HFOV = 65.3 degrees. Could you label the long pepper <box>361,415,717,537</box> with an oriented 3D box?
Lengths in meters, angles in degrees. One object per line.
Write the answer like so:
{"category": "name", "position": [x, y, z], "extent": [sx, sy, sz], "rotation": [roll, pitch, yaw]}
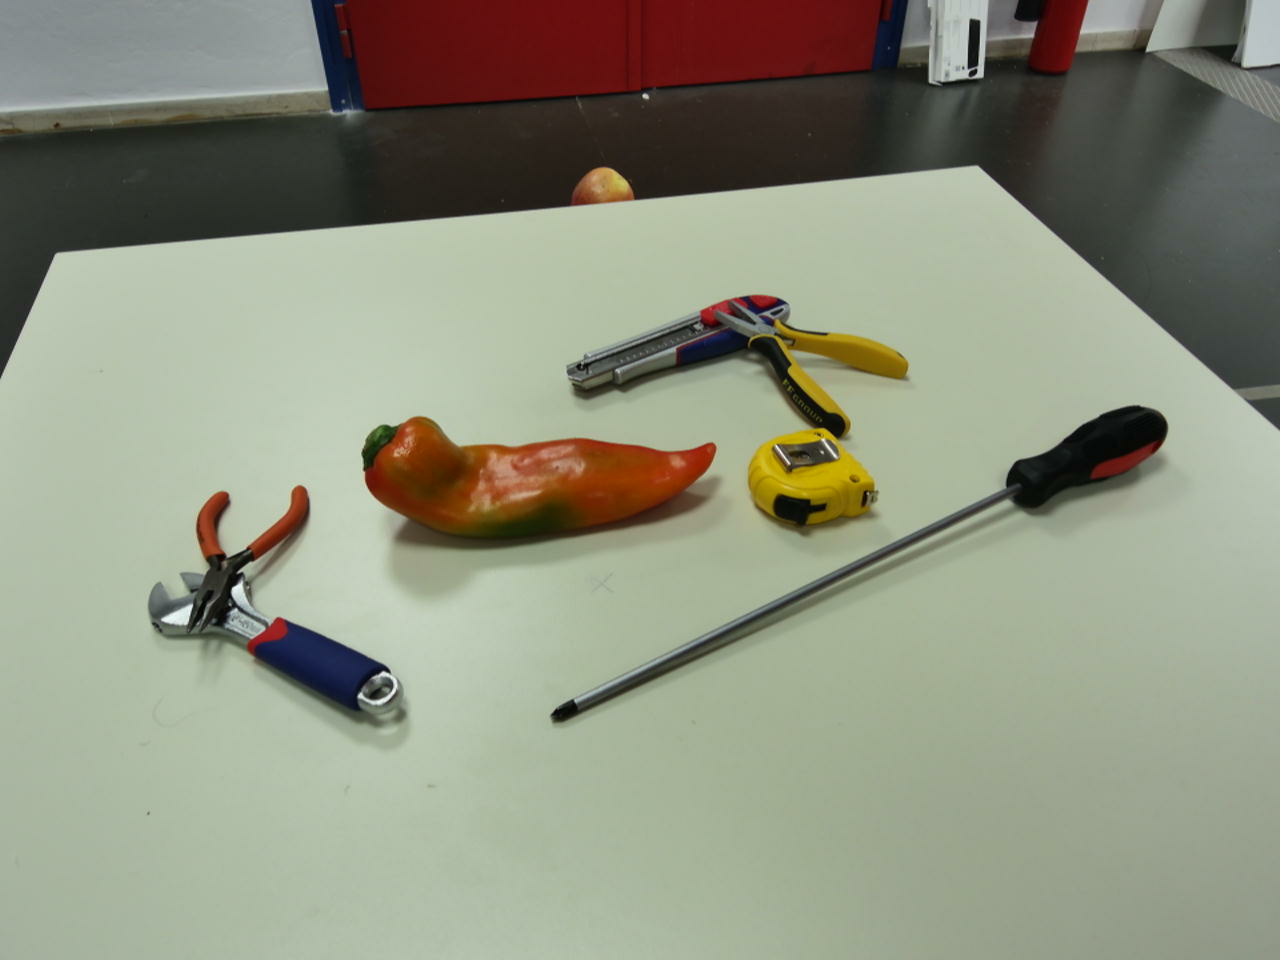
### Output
{"category": "long pepper", "position": [-0.054, -0.009, 0.561], "extent": [0.199, 0.065, 0.066], "rotation": [-5, 40, -6]}
